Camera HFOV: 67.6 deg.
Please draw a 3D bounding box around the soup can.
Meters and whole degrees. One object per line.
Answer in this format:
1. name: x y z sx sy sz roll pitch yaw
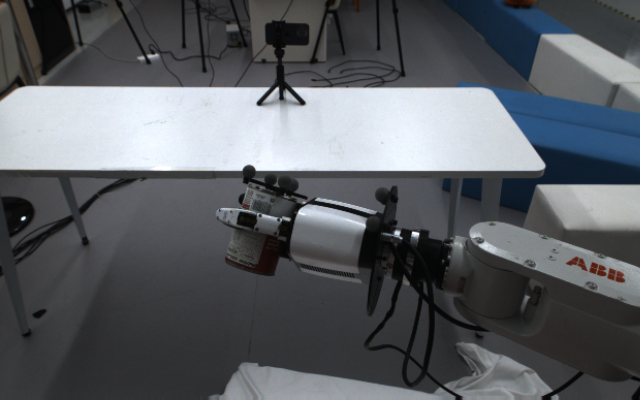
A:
1. soup can: -0.073 0.039 0.615 0.067 0.101 0.067 17 -1 0
